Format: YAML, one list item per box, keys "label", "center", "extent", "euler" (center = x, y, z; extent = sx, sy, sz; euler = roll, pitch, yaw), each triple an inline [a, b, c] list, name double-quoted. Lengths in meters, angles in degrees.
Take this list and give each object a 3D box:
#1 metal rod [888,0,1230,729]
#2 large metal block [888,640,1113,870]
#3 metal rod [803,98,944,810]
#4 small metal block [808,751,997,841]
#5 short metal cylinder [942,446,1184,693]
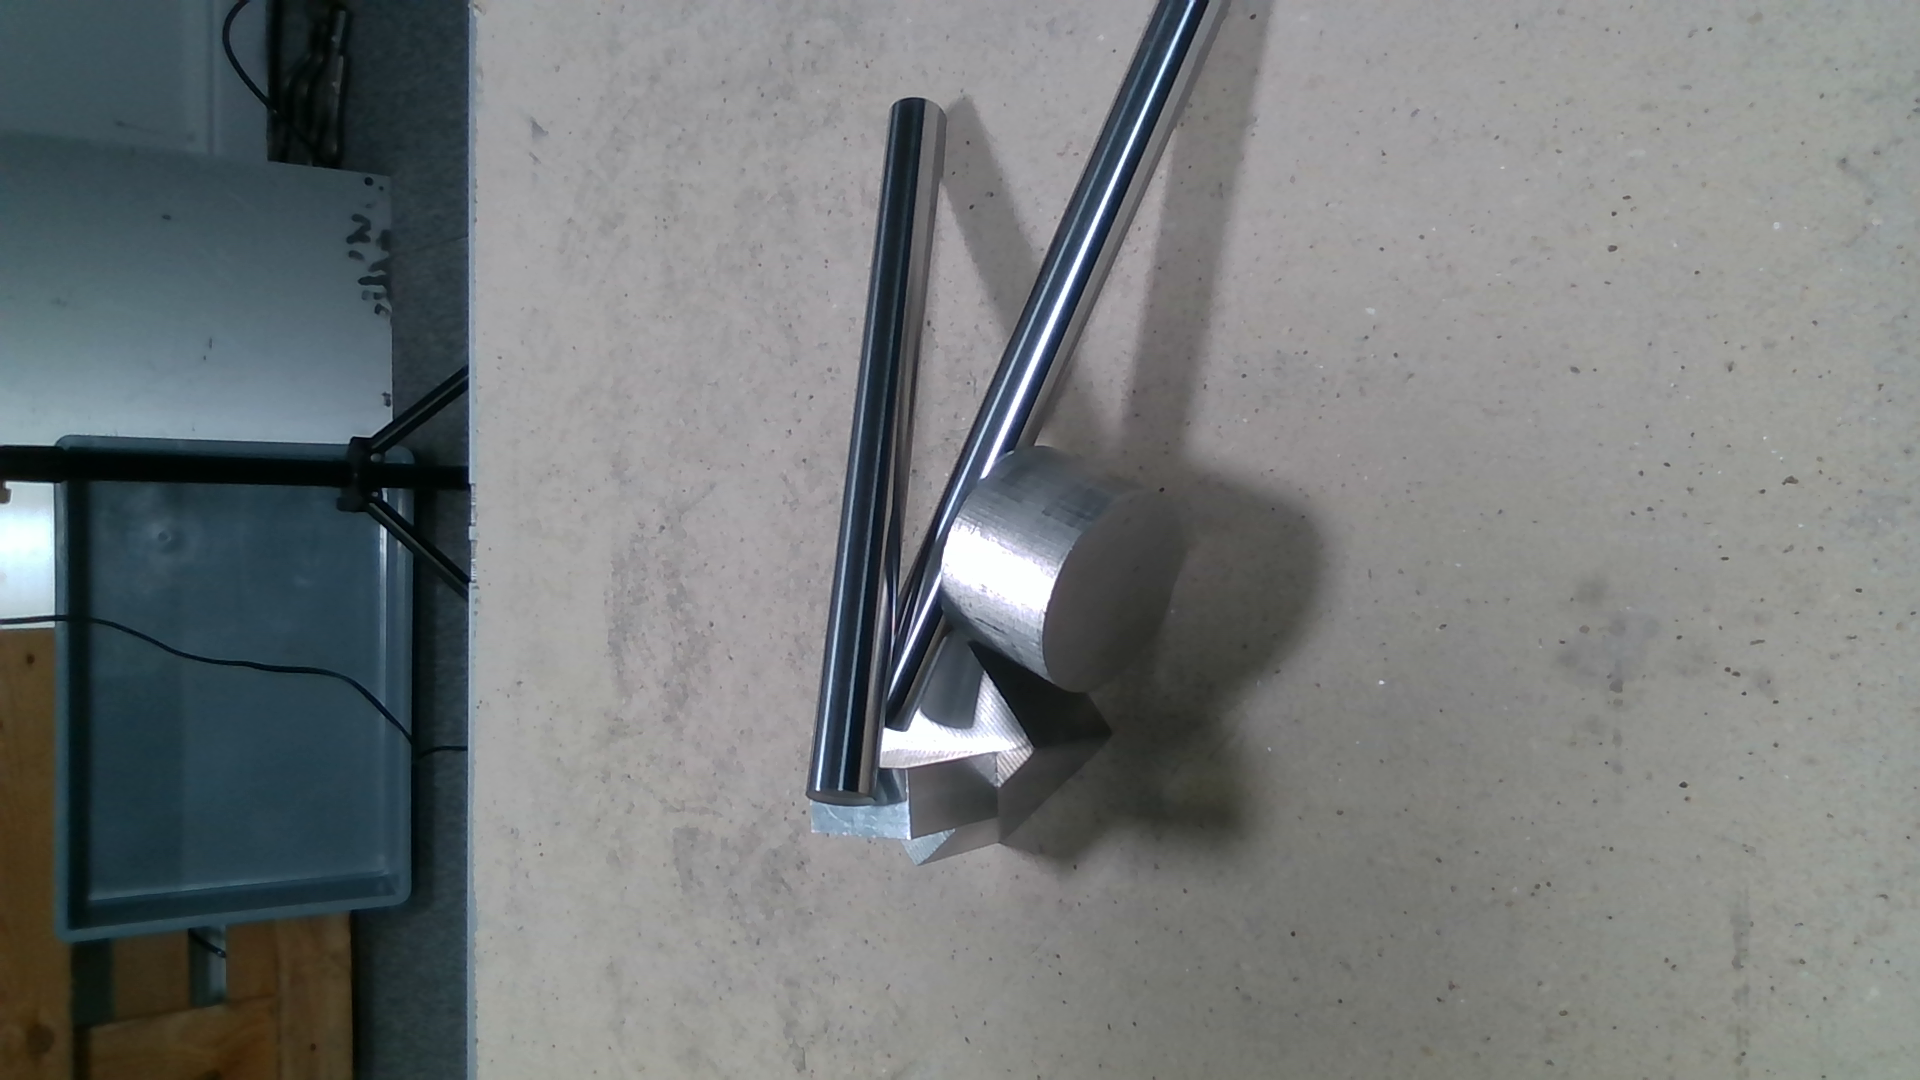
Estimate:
- label: "metal rod"
  center: [0.031, -0.070, 0.518]
  extent: [0.025, 0.025, 0.300]
  euler: [27, 96, 37]
- label: "large metal block"
  center: [0.001, 0.075, 0.563]
  extent: [0.080, 0.050, 0.080]
  euler: [-49, 60, 29]
- label: "metal rod"
  center: [-0.031, -0.046, 0.538]
  extent: [0.025, 0.025, 0.299]
  euler: [-16, 60, 39]
- label: "small metal block"
  center: [-0.022, 0.095, 0.516]
  extent: [0.050, 0.050, 0.025]
  euler: [-6, 86, 40]
- label: "short metal cylinder"
  center: [0.039, 0.010, 0.515]
  extent: [0.050, 0.080, 0.080]
  euler: [26, 107, 37]
